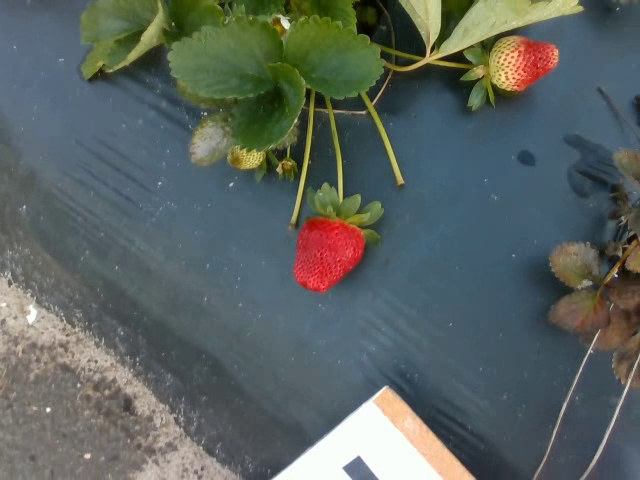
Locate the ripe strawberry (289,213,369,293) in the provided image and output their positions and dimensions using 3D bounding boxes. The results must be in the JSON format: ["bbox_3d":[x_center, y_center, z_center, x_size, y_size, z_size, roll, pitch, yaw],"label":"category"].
[{"bbox_3d":[0.002,0.010,0.356,0.045,0.055,0.042,3,-41,41],"label":"ripe strawberry"}]
